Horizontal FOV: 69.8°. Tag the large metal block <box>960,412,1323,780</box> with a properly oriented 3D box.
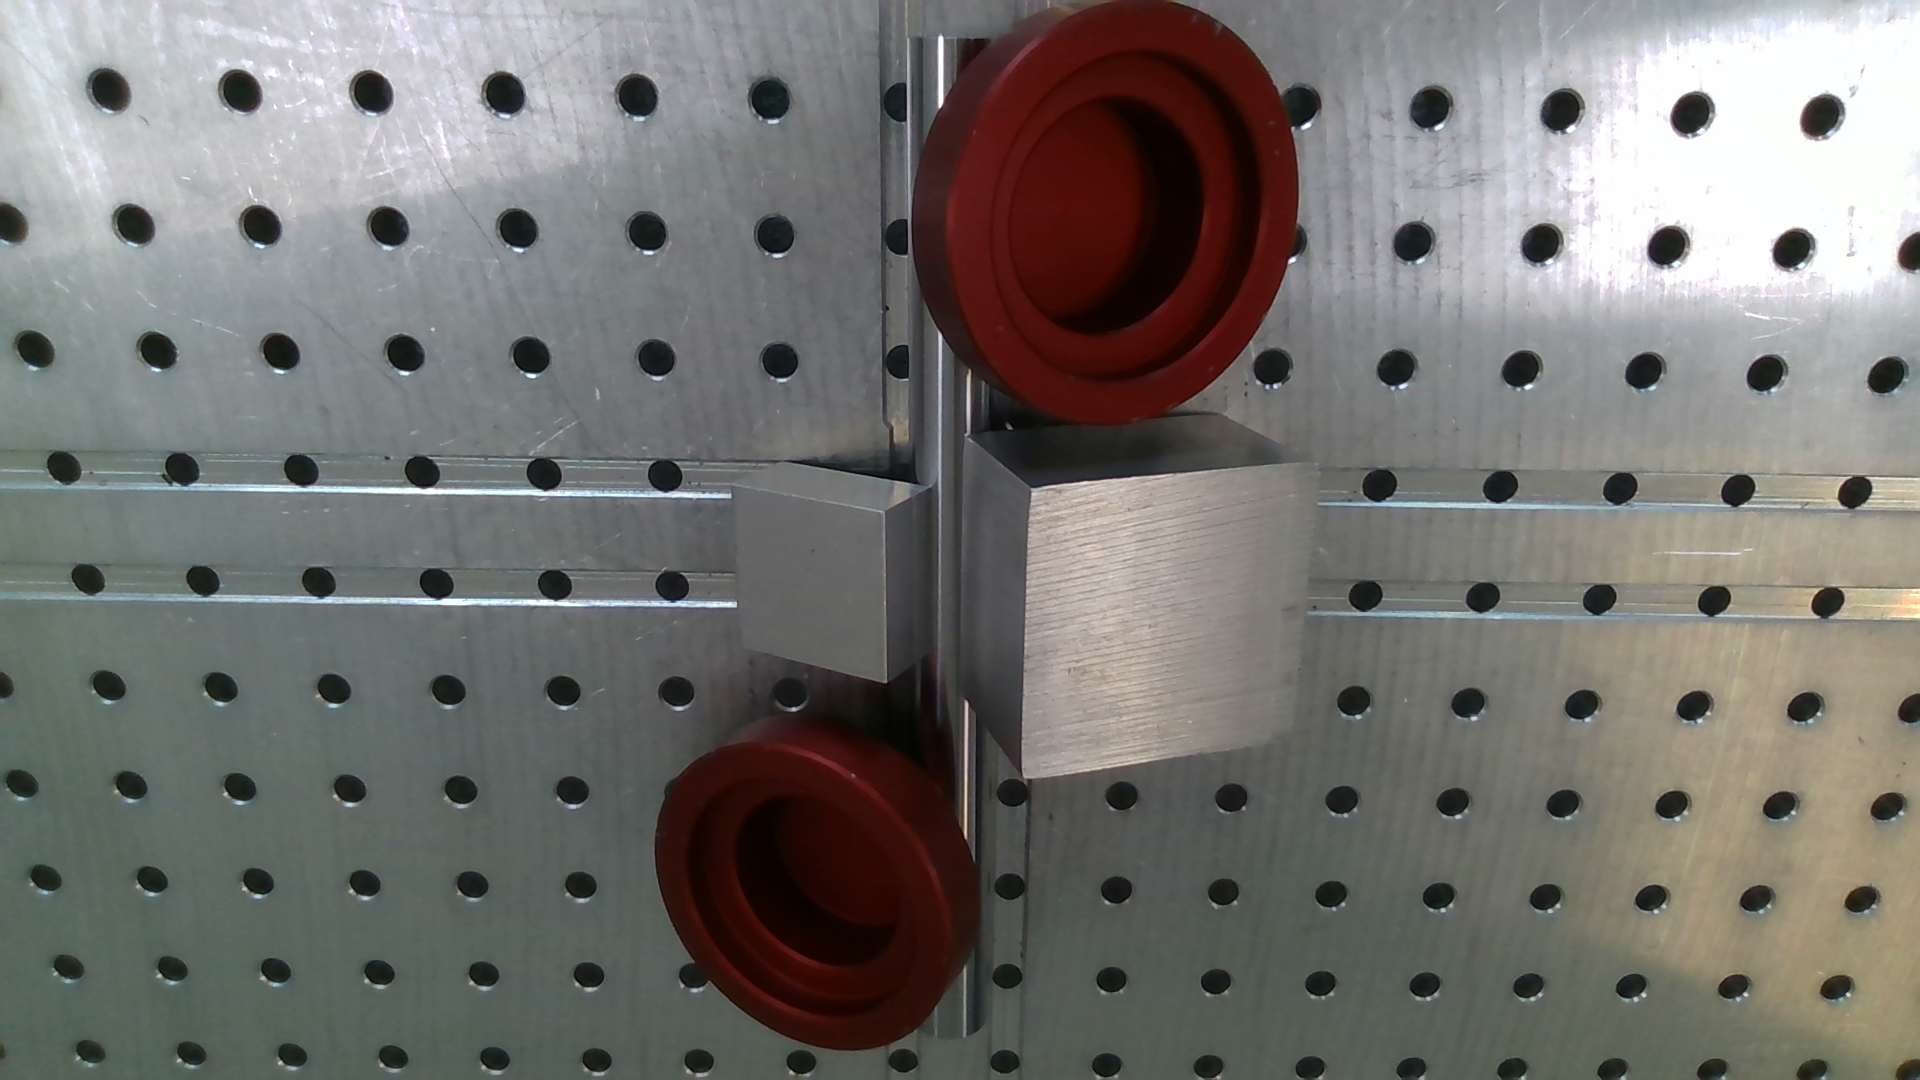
[{"bbox_3d":[0.046,0.012,0.375,0.080,0.050,0.080,-6,111,-17],"label":"large metal block"}]

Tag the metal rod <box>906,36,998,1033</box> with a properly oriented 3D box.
[{"bbox_3d":[-0.002,0.013,0.402,0.025,0.025,0.301,0,110,0],"label":"metal rod"}]

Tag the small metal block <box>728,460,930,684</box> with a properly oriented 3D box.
[{"bbox_3d":[-0.037,0.008,0.389,0.050,0.025,0.050,11,113,27],"label":"small metal block"}]

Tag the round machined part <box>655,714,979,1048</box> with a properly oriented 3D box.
[{"bbox_3d":[-0.038,0.096,0.409,0.098,0.042,0.098,9,112,24],"label":"round machined part"}]

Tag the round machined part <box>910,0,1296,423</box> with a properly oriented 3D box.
[{"bbox_3d":[0.032,-0.082,0.343,0.098,0.042,0.098,-10,112,-24],"label":"round machined part"}]
